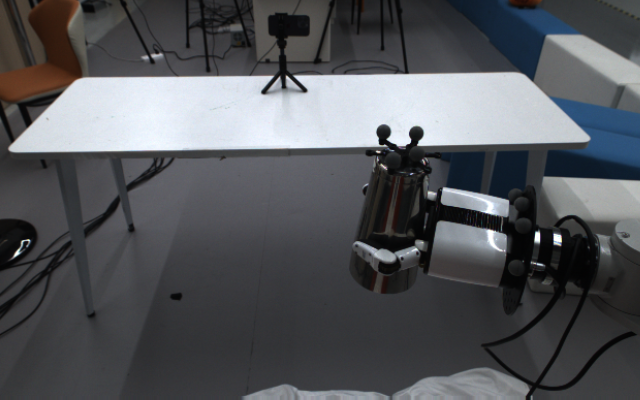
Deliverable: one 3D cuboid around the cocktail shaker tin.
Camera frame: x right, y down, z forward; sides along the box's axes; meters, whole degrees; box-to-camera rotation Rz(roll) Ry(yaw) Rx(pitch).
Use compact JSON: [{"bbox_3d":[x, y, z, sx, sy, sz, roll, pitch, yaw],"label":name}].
[{"bbox_3d":[0.093,0.023,0.610,0.093,0.170,0.093,3,34,-2],"label":"cocktail shaker tin"}]
